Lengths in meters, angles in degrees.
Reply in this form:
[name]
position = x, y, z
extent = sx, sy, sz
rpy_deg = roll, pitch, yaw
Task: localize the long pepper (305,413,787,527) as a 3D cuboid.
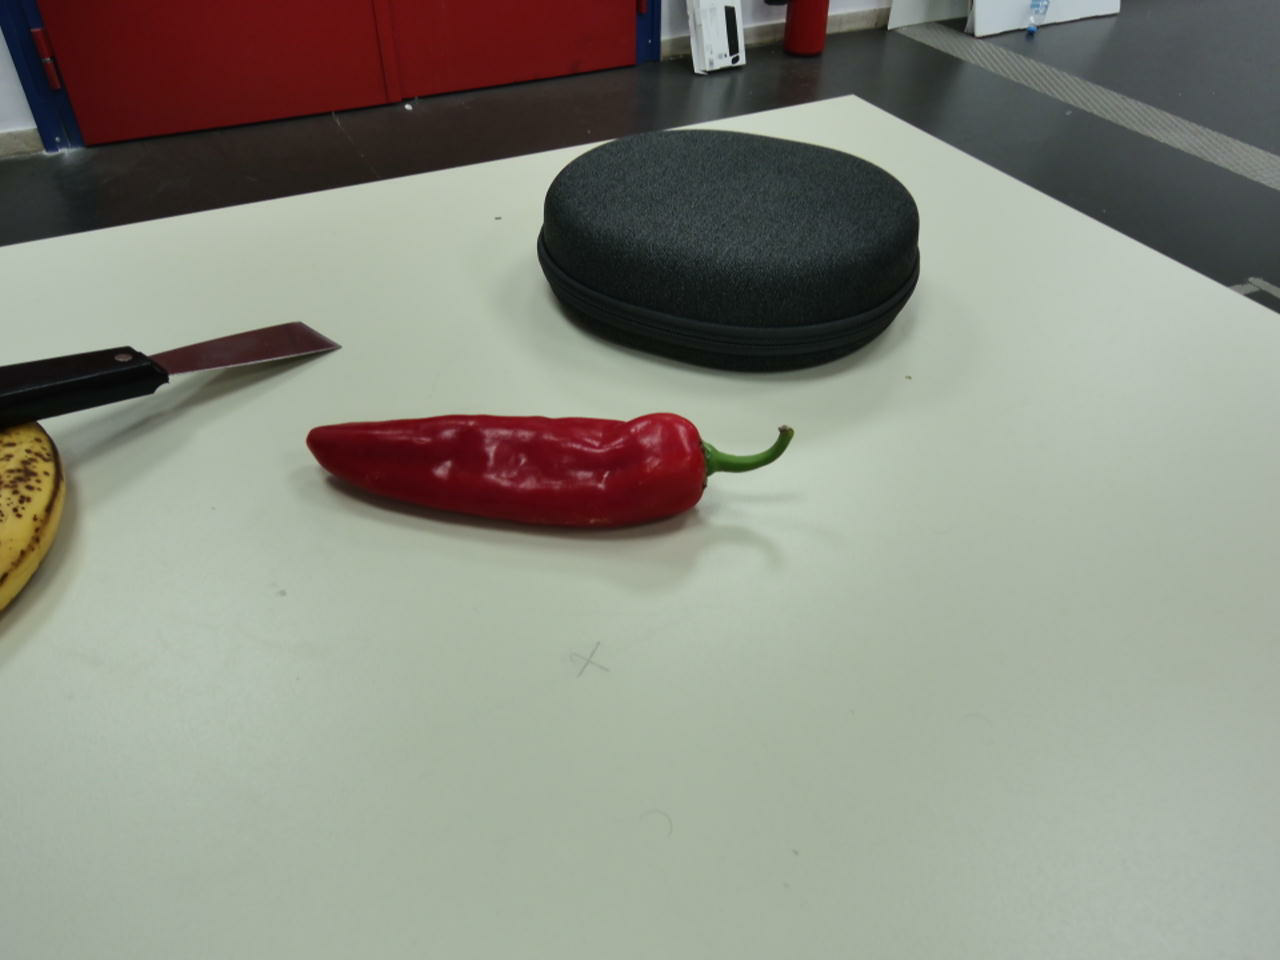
[long pepper]
position = -0.044, -0.008, 0.430
extent = 0.211, 0.043, 0.050
rpy_deg = 4, 38, 4
